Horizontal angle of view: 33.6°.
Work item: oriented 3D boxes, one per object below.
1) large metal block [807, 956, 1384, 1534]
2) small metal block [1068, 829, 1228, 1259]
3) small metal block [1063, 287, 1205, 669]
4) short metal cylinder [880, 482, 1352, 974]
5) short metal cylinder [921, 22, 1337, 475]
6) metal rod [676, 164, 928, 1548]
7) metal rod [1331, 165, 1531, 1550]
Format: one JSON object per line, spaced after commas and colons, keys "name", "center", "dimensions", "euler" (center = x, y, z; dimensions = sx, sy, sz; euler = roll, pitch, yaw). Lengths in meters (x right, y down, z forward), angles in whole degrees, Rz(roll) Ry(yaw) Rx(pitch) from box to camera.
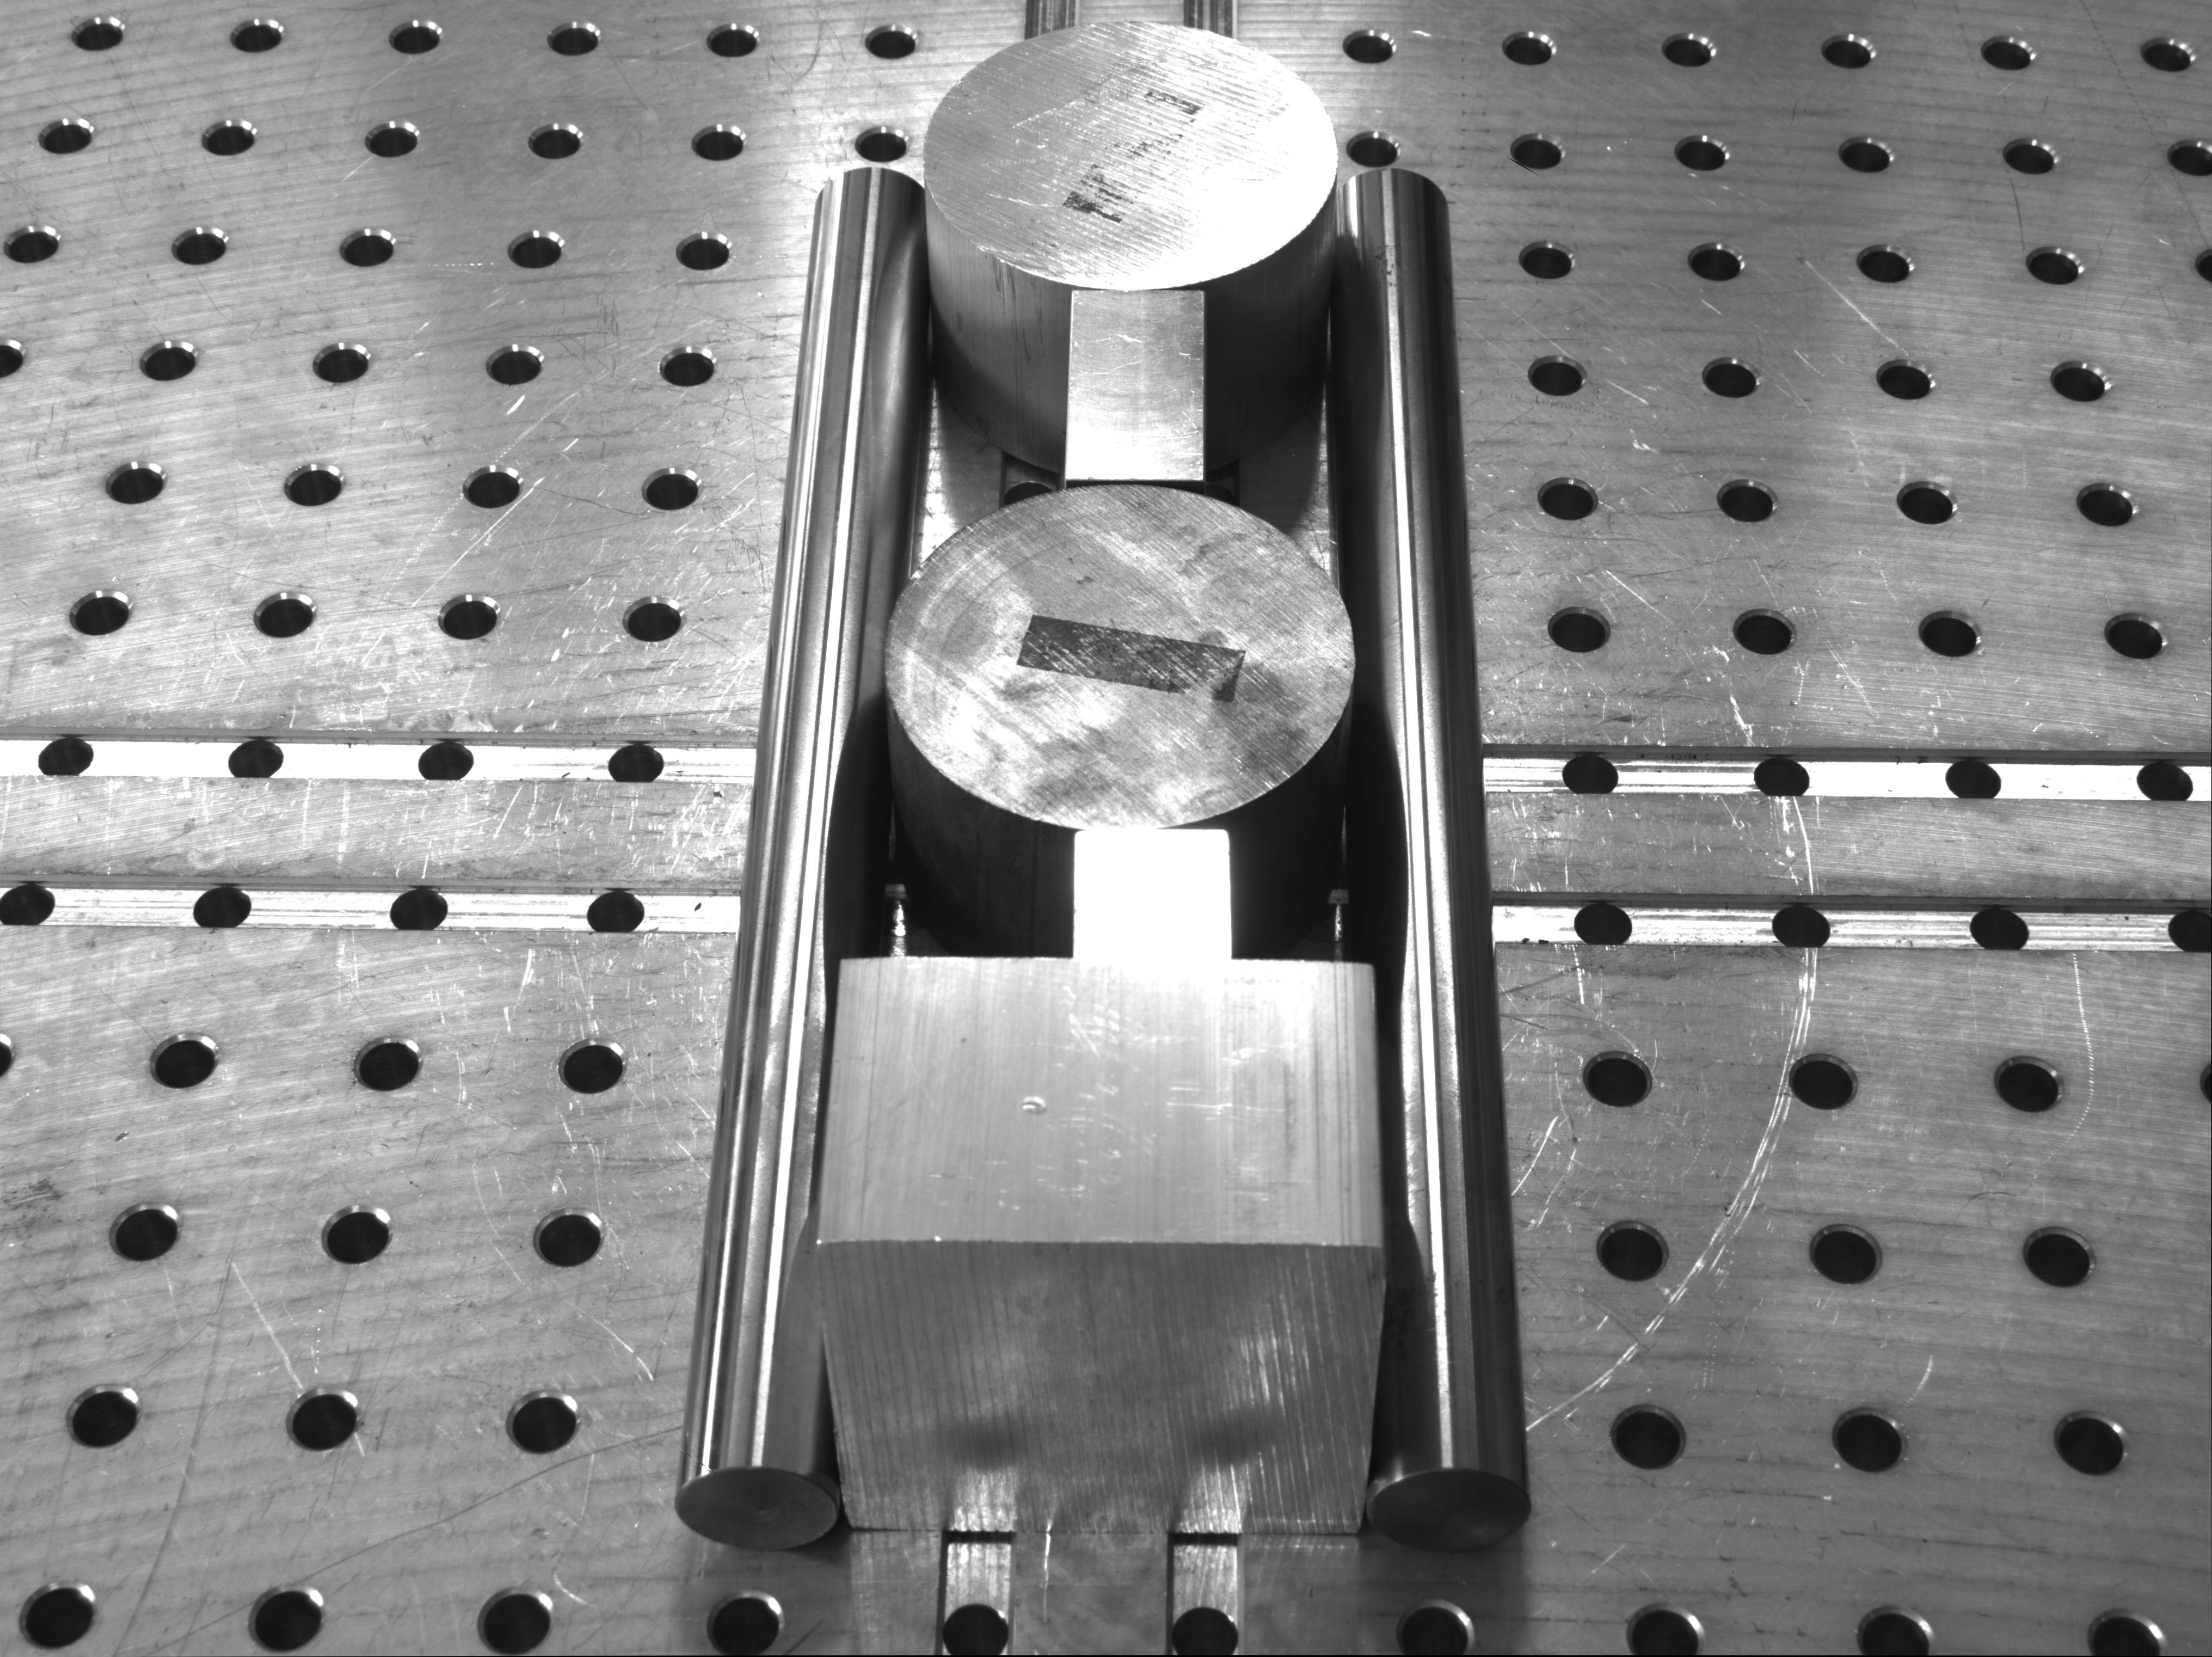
{"name": "large metal block", "center": [-0.001, 0.064, 0.555], "dimensions": [0.080, 0.080, 0.050], "euler": [1, 50, 1]}
{"name": "small metal block", "center": [0.007, 0.035, 0.598], "dimensions": [0.025, 0.050, 0.050], "euler": [0, 50, 0]}
{"name": "small metal block", "center": [0.005, -0.065, 0.682], "dimensions": [0.025, 0.050, 0.050], "euler": [1, 50, 1]}
{"name": "short metal cylinder", "center": [0.002, -0.014, 0.640], "dimensions": [0.080, 0.050, 0.080], "euler": [0, 50, 0]}
{"name": "short metal cylinder", "center": [0.005, -0.114, 0.724], "dimensions": [0.080, 0.050, 0.080], "euler": [0, 50, 0]}
{"name": "metal rod", "center": [-0.050, -0.012, 0.653], "dimensions": [0.025, 0.025, 0.300], "euler": [1, 50, 1]}
{"name": "metal rod", "center": [0.055, -0.011, 0.653], "dimensions": [0.025, 0.025, 0.300], "euler": [1, 50, 1]}
